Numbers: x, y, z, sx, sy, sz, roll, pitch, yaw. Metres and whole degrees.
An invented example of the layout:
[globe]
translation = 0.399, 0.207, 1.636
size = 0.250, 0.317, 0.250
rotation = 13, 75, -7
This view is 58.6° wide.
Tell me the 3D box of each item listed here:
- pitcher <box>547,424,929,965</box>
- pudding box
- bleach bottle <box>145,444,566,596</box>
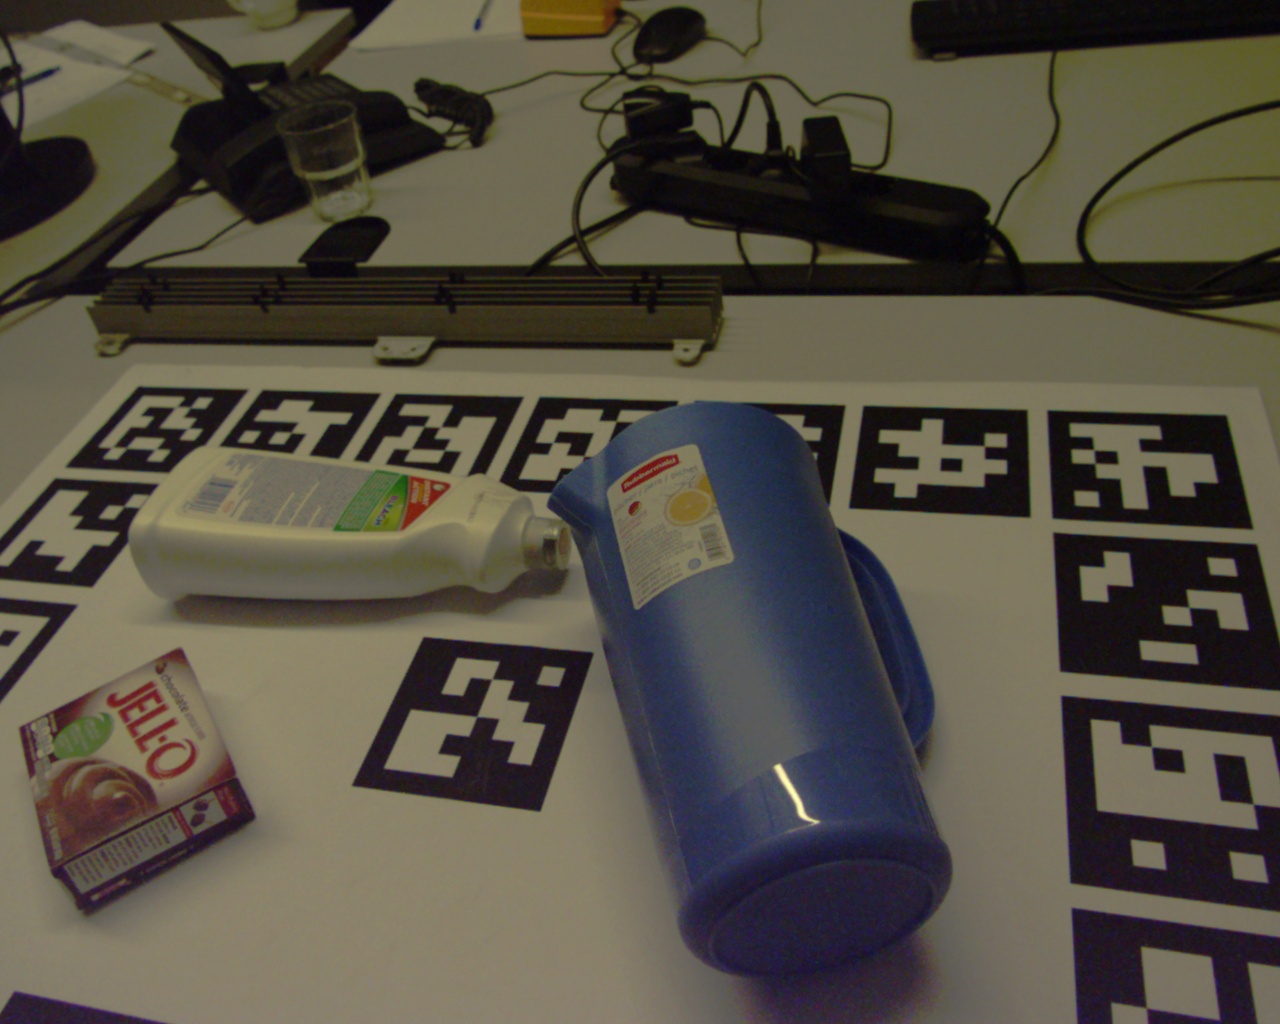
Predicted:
[pitcher]
translation = 0.056, 0.084, 0.557
size = 0.186, 0.134, 0.244
rotation = 12, 40, -26
[pudding box]
translation = -0.266, 0.128, 0.613
size = 0.089, 0.038, 0.115
rotation = -23, 44, -21
[bleach bottle]
translation = -0.170, 0.008, 0.713
size = 0.252, 0.067, 0.102
rotation = 2, 48, 12
